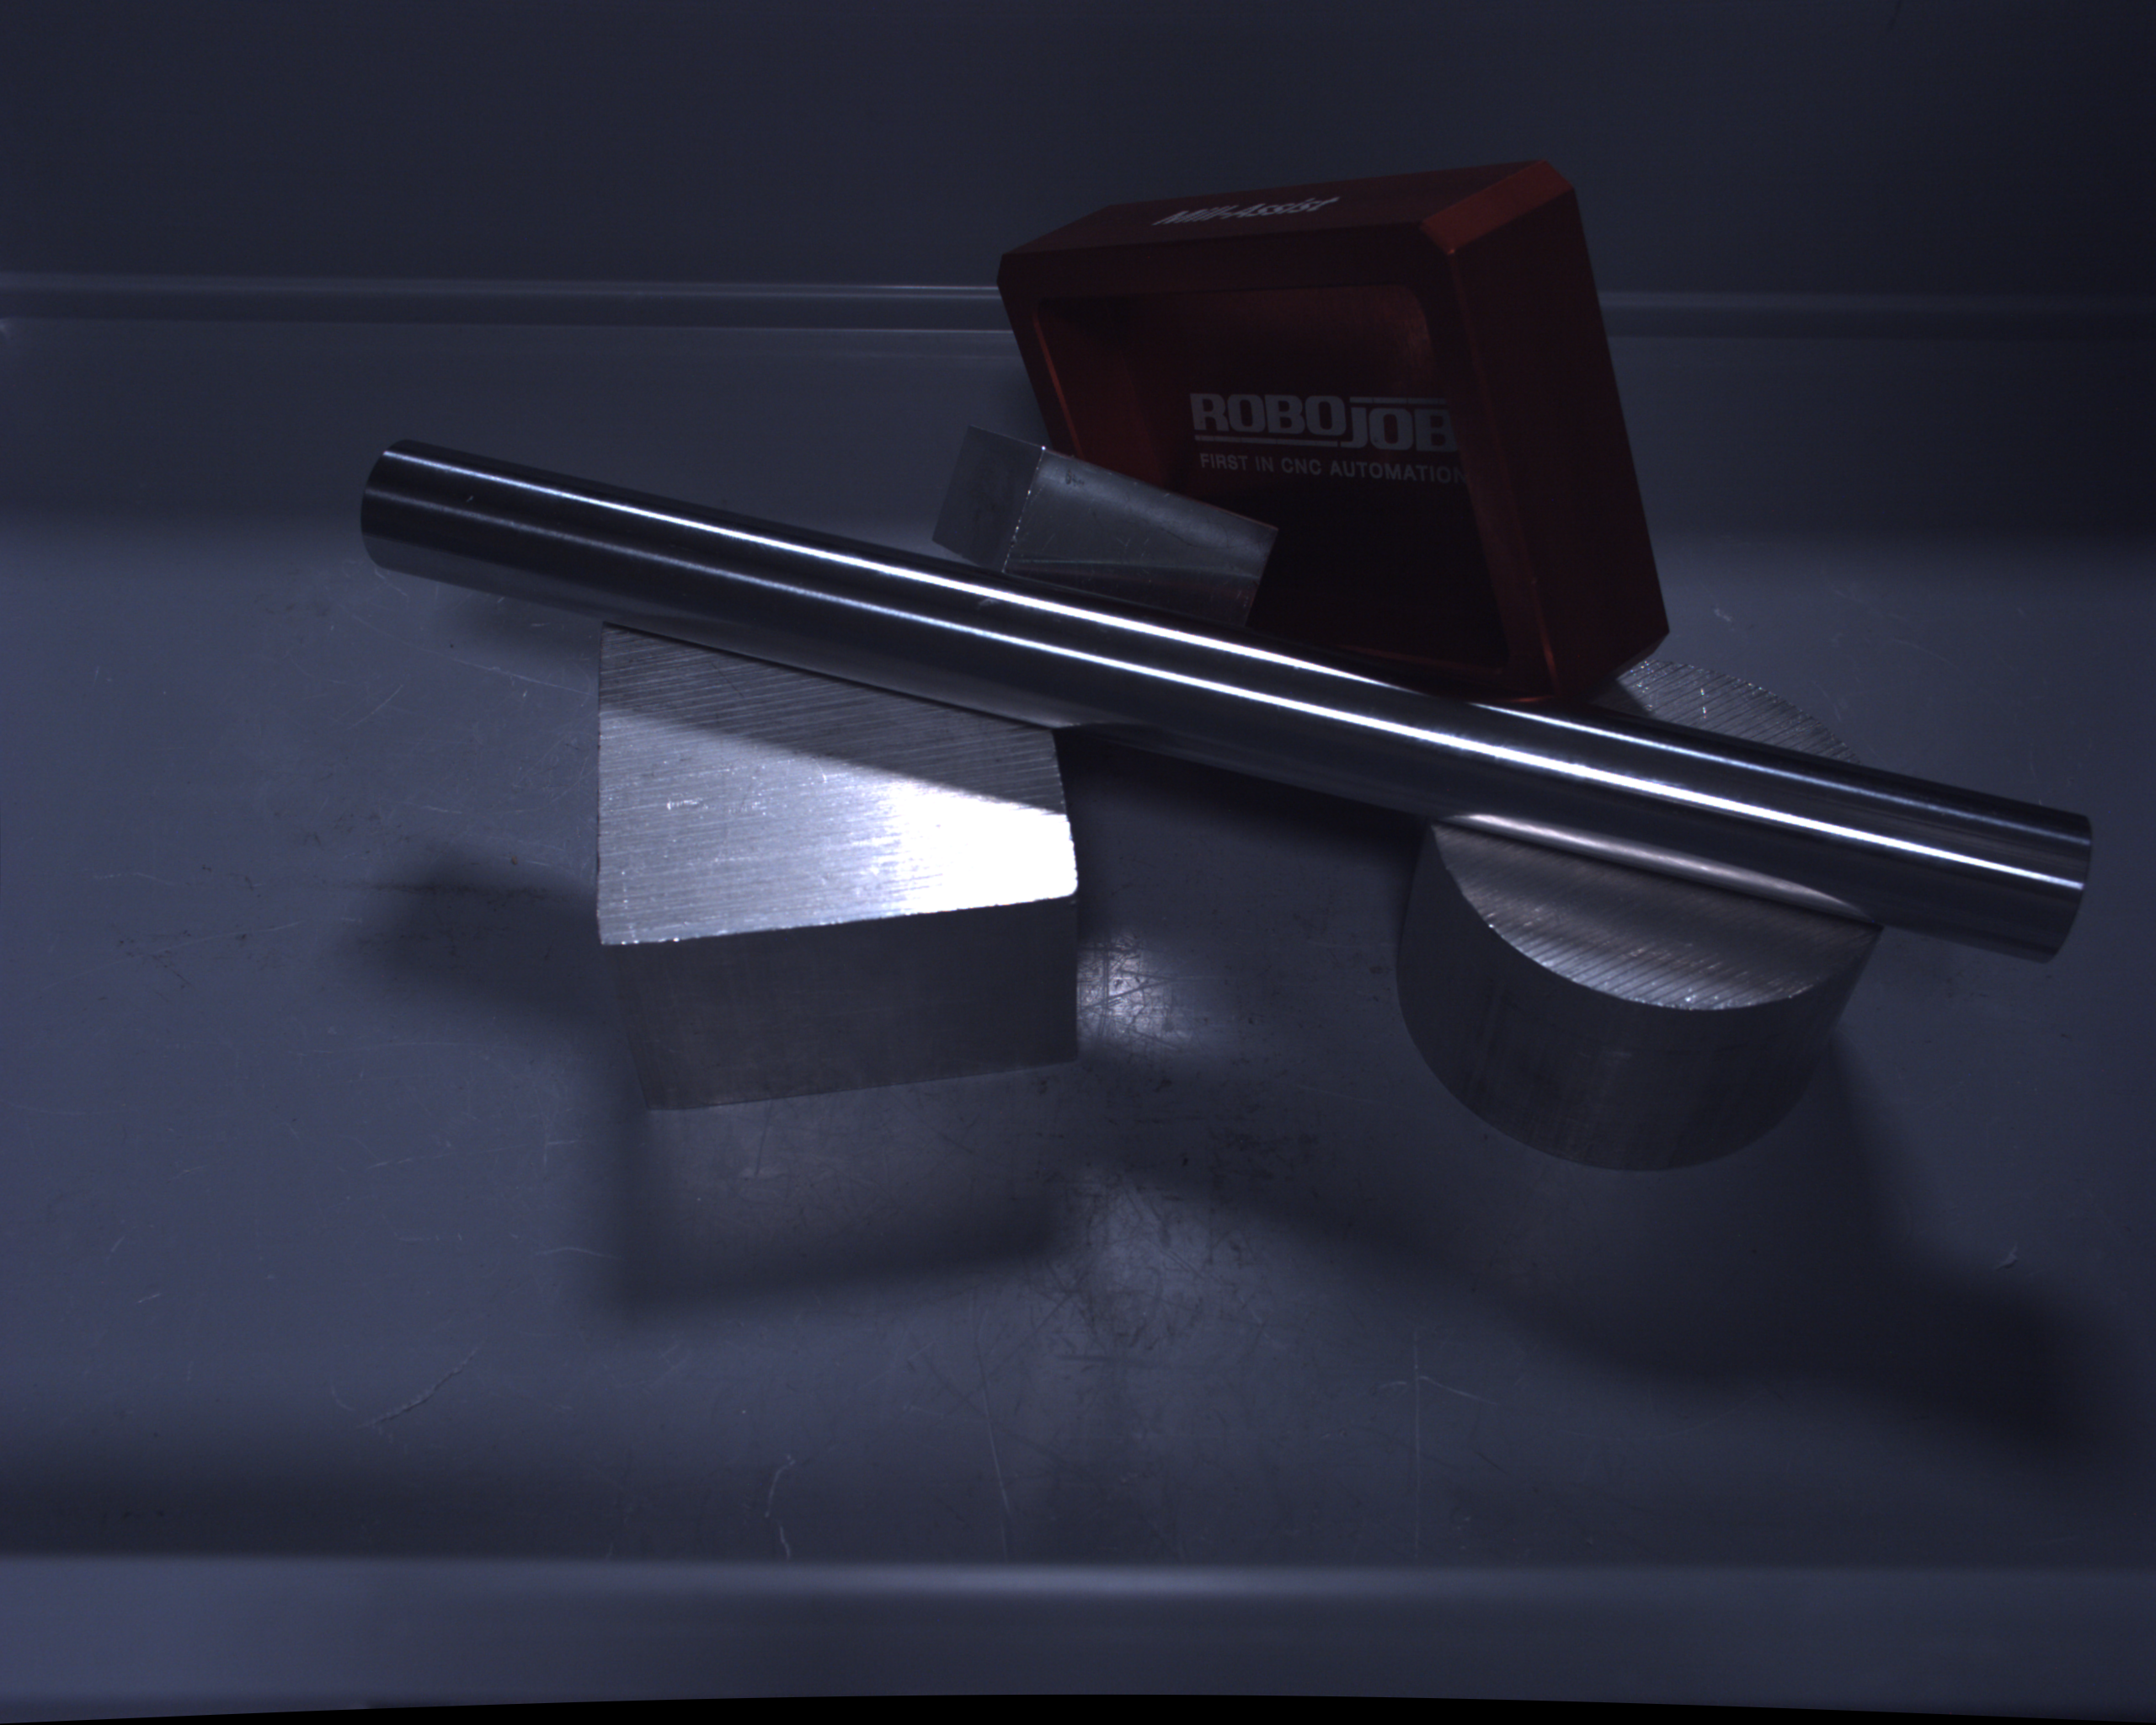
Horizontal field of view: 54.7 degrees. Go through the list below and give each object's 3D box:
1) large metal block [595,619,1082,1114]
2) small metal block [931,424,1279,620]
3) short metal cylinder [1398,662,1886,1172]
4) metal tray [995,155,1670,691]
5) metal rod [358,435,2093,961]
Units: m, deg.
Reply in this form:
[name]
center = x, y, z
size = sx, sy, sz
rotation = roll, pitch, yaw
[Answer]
[large metal block]
center = -0.045, -0.004, 0.390
size = 0.081, 0.050, 0.080
rotation = -6, 50, -6
[small metal block]
center = 0.004, -0.065, 0.414
size = 0.050, 0.025, 0.050
rotation = 15, 10, -22
[short metal cylinder]
center = 0.101, 0.009, 0.381
size = 0.081, 0.050, 0.080
rotation = 0, 50, 0
[metal tray]
center = 0.044, -0.081, 0.397
size = 0.030, 0.090, 0.130
rotation = -33, 28, -26
[metal rod]
center = 0.015, -0.032, 0.364
size = 0.301, 0.025, 0.025
rotation = 14, 51, 11
